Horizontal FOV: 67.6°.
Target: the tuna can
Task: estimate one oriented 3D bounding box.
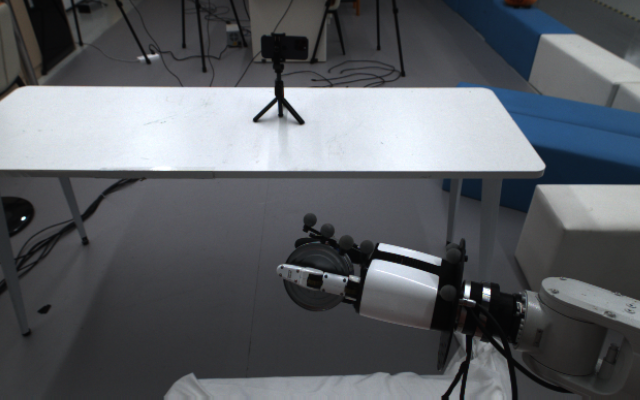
[{"bbox_3d":[0.002,0.094,0.608,0.085,0.085,0.034,13,2,16],"label":"tuna can"}]
